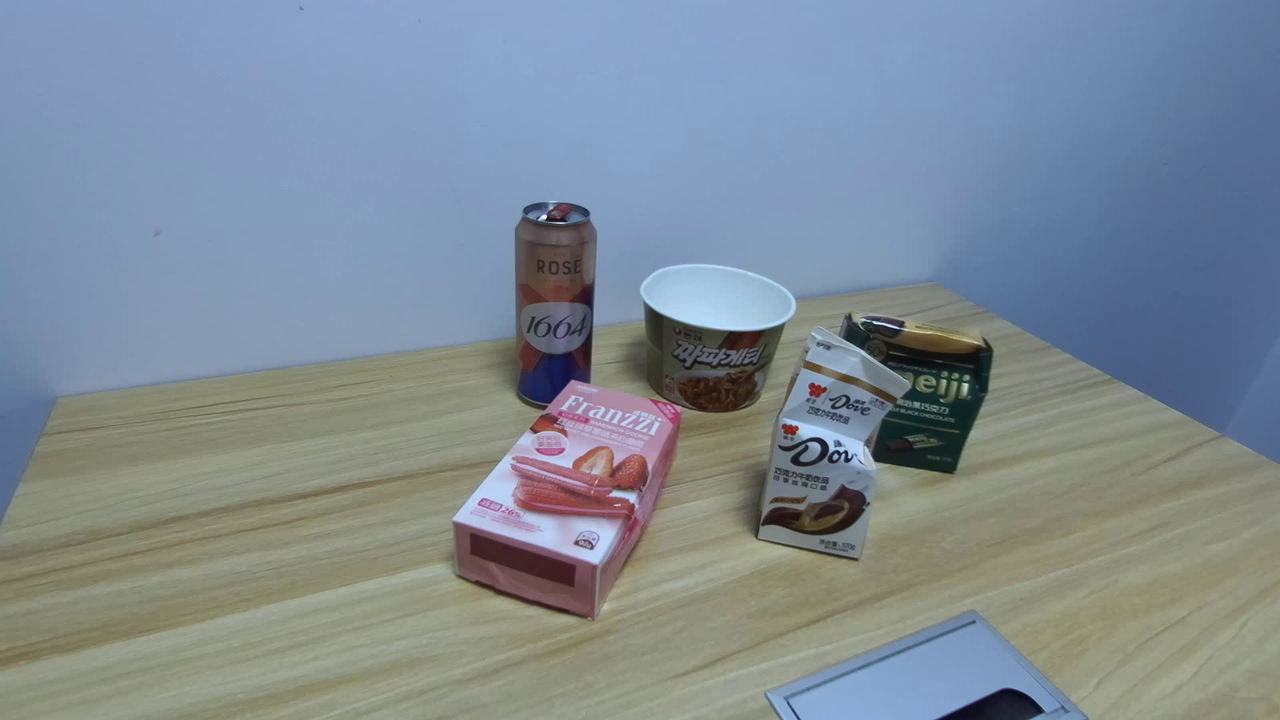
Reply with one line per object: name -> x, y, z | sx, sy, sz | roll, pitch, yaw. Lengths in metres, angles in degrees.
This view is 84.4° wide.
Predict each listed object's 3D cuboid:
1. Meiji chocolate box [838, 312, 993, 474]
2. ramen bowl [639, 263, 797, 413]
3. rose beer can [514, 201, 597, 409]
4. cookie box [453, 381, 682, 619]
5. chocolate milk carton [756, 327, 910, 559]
Meiji chocolate box -> 0.217, 0.025, 0.584 | 0.117, 0.117, 0.051 | 9, 21, 4
ramen bowl -> 0.067, -0.019, 0.654 | 0.140, 0.095, 0.140 | 4, 30, -2
rose beer can -> -0.072, -0.043, 0.602 | 0.069, 0.169, 0.068 | 4, 28, -2
cookie box -> -0.038, 0.088, 0.497 | 0.105, 0.049, 0.187 | 13, 31, 14
chocolate milk carton -> 0.128, 0.050, 0.476 | 0.076, 0.155, 0.073 | 11, 32, 9
